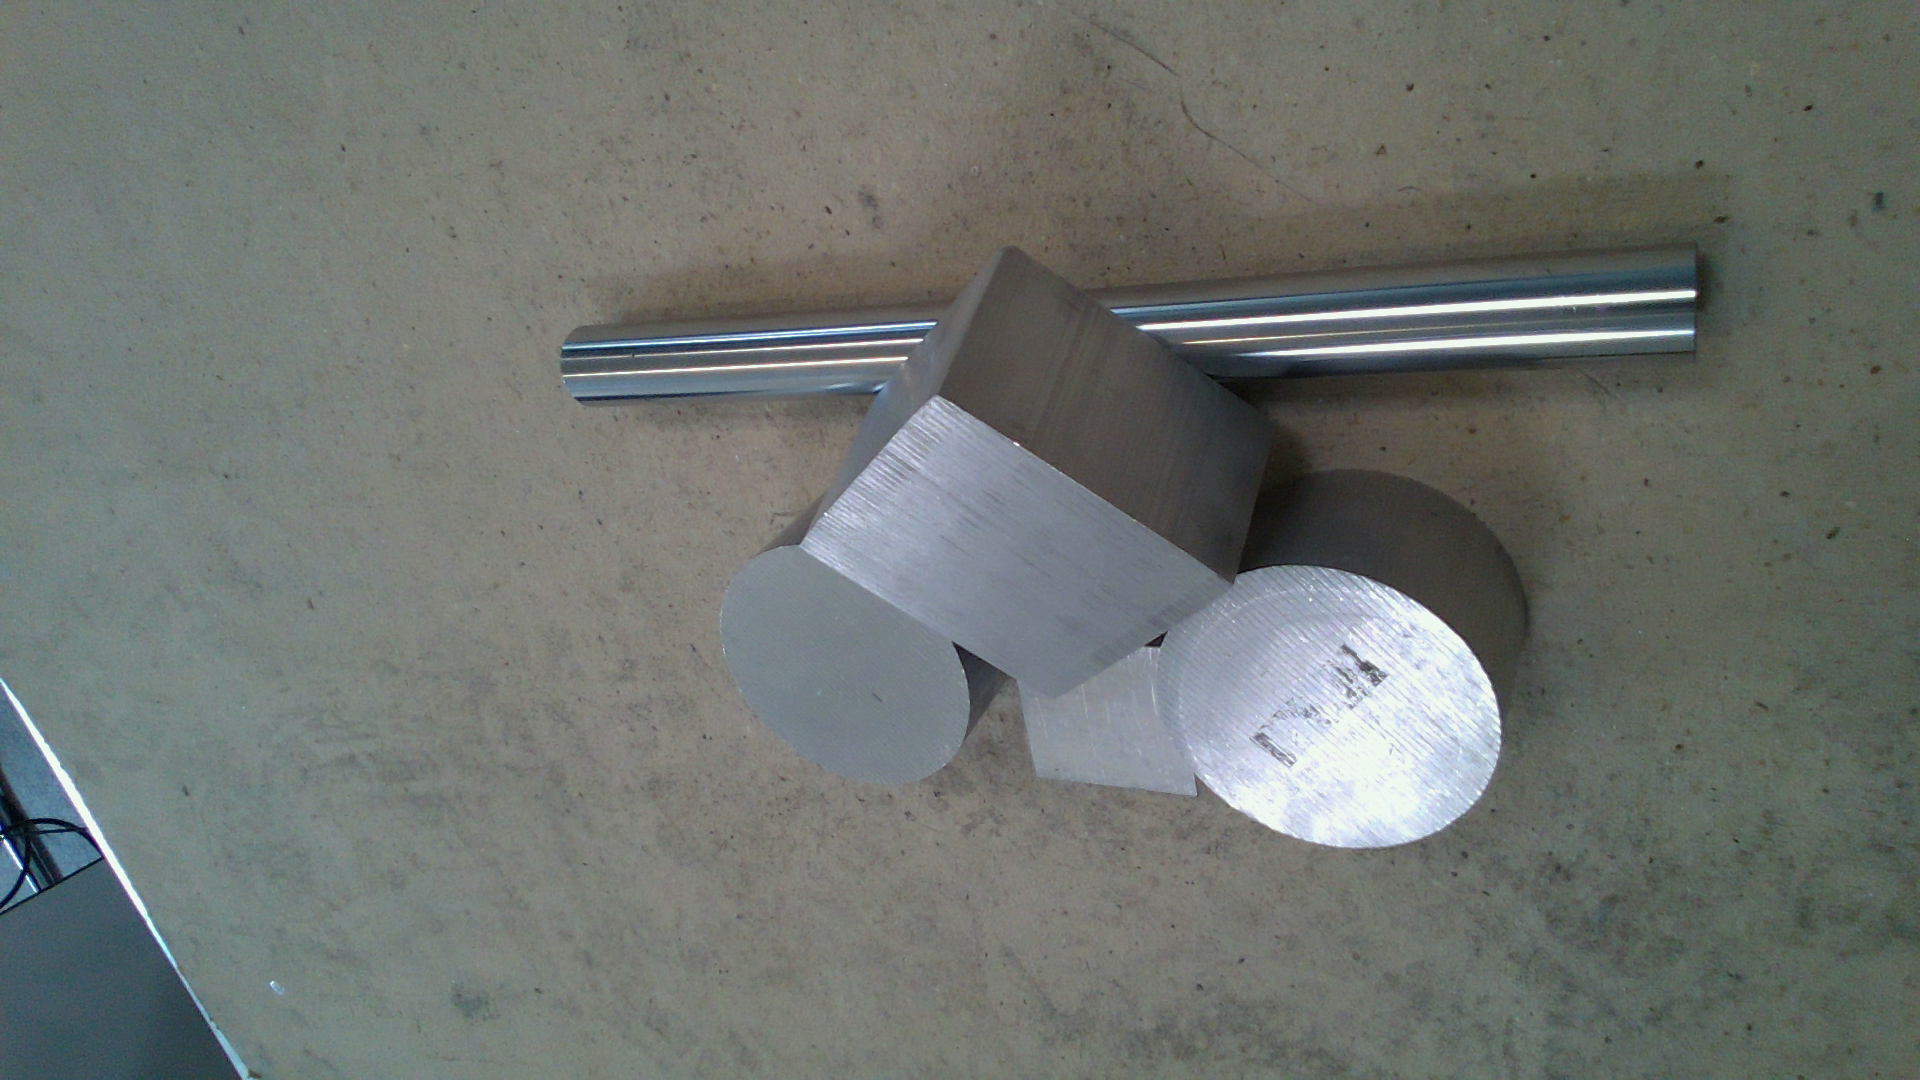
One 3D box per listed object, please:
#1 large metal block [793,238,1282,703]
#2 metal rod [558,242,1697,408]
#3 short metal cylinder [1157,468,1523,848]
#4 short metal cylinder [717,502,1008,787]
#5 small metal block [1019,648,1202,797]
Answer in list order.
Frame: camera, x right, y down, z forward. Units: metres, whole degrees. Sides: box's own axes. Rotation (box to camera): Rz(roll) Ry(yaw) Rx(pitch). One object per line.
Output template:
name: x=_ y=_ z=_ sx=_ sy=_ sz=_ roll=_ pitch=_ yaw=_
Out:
large metal block: x=0.017 y=-0.013 z=0.337 sx=0.080 sy=0.050 sz=0.080 roll=31 pitch=144 yaw=-13
metal rod: x=0.018 y=-0.051 z=0.351 sx=0.299 sy=0.025 sz=0.025 roll=1 pitch=119 yaw=28
short metal cylinder: x=0.095 y=0.029 z=0.343 sx=0.080 sy=0.050 sz=0.080 roll=13 pitch=124 yaw=21
short metal cylinder: x=-0.023 y=0.025 z=0.404 sx=0.080 sy=0.050 sz=0.080 roll=13 pitch=124 yaw=21
small metal block: x=0.046 y=0.043 z=0.396 sx=0.050 sy=0.025 sz=0.050 roll=2 pitch=119 yaw=27
